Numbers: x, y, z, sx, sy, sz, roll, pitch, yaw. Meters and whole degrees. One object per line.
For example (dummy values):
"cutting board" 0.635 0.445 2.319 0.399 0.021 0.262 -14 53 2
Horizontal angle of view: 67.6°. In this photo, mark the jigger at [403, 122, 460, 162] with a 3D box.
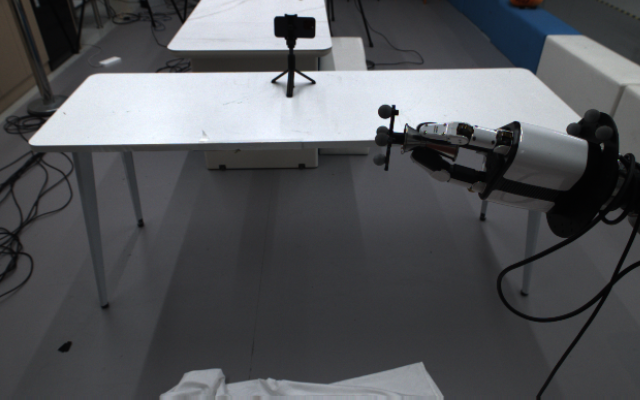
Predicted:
"jigger" 0.148 -0.079 0.625 0.071 0.043 0.043 6 35 4
